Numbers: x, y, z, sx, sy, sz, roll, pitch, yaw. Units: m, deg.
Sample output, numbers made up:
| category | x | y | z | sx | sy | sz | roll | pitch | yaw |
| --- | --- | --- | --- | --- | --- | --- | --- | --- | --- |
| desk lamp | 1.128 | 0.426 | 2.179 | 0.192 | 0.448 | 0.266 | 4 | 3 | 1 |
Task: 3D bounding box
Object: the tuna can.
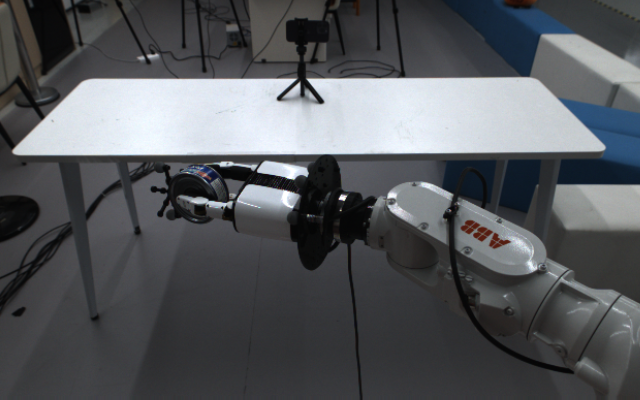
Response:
| category | x | y | z | sx | sy | sz | roll | pitch | yaw |
| --- | --- | --- | --- | --- | --- | --- | --- | --- | --- |
| tuna can | -0.177 | -0.006 | 0.712 | 0.085 | 0.085 | 0.034 | 12 | 29 | 14 |
